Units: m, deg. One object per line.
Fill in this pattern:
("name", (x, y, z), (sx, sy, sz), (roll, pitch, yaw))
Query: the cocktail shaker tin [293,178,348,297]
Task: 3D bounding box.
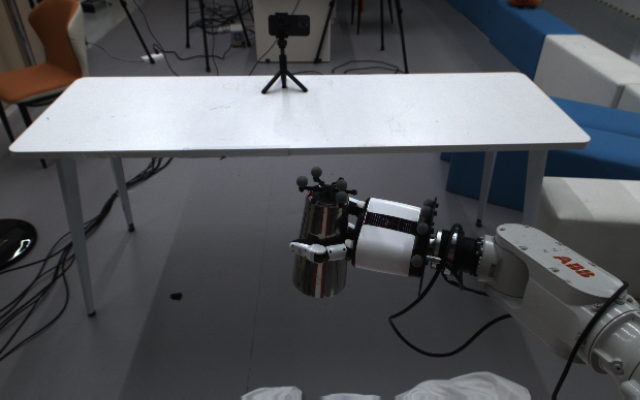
("cocktail shaker tin", (0.005, 0.062, 0.780), (0.093, 0.170, 0.093), (4, 32, -2))
